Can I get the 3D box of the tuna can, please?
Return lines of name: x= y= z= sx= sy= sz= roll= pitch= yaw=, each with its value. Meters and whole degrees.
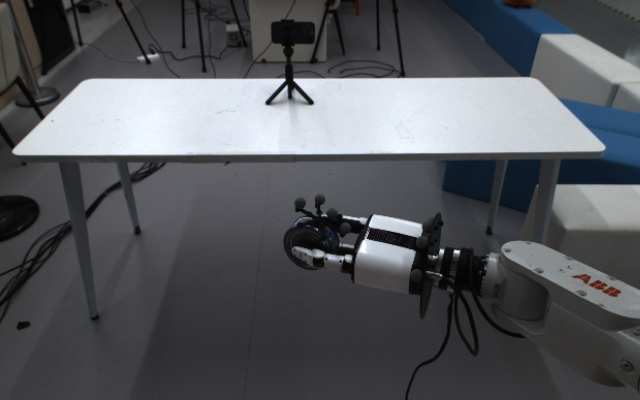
tuna can: x=-0.013 y=0.069 z=0.771 sx=0.085 sy=0.085 sz=0.034 roll=15 pitch=30 yaw=18
